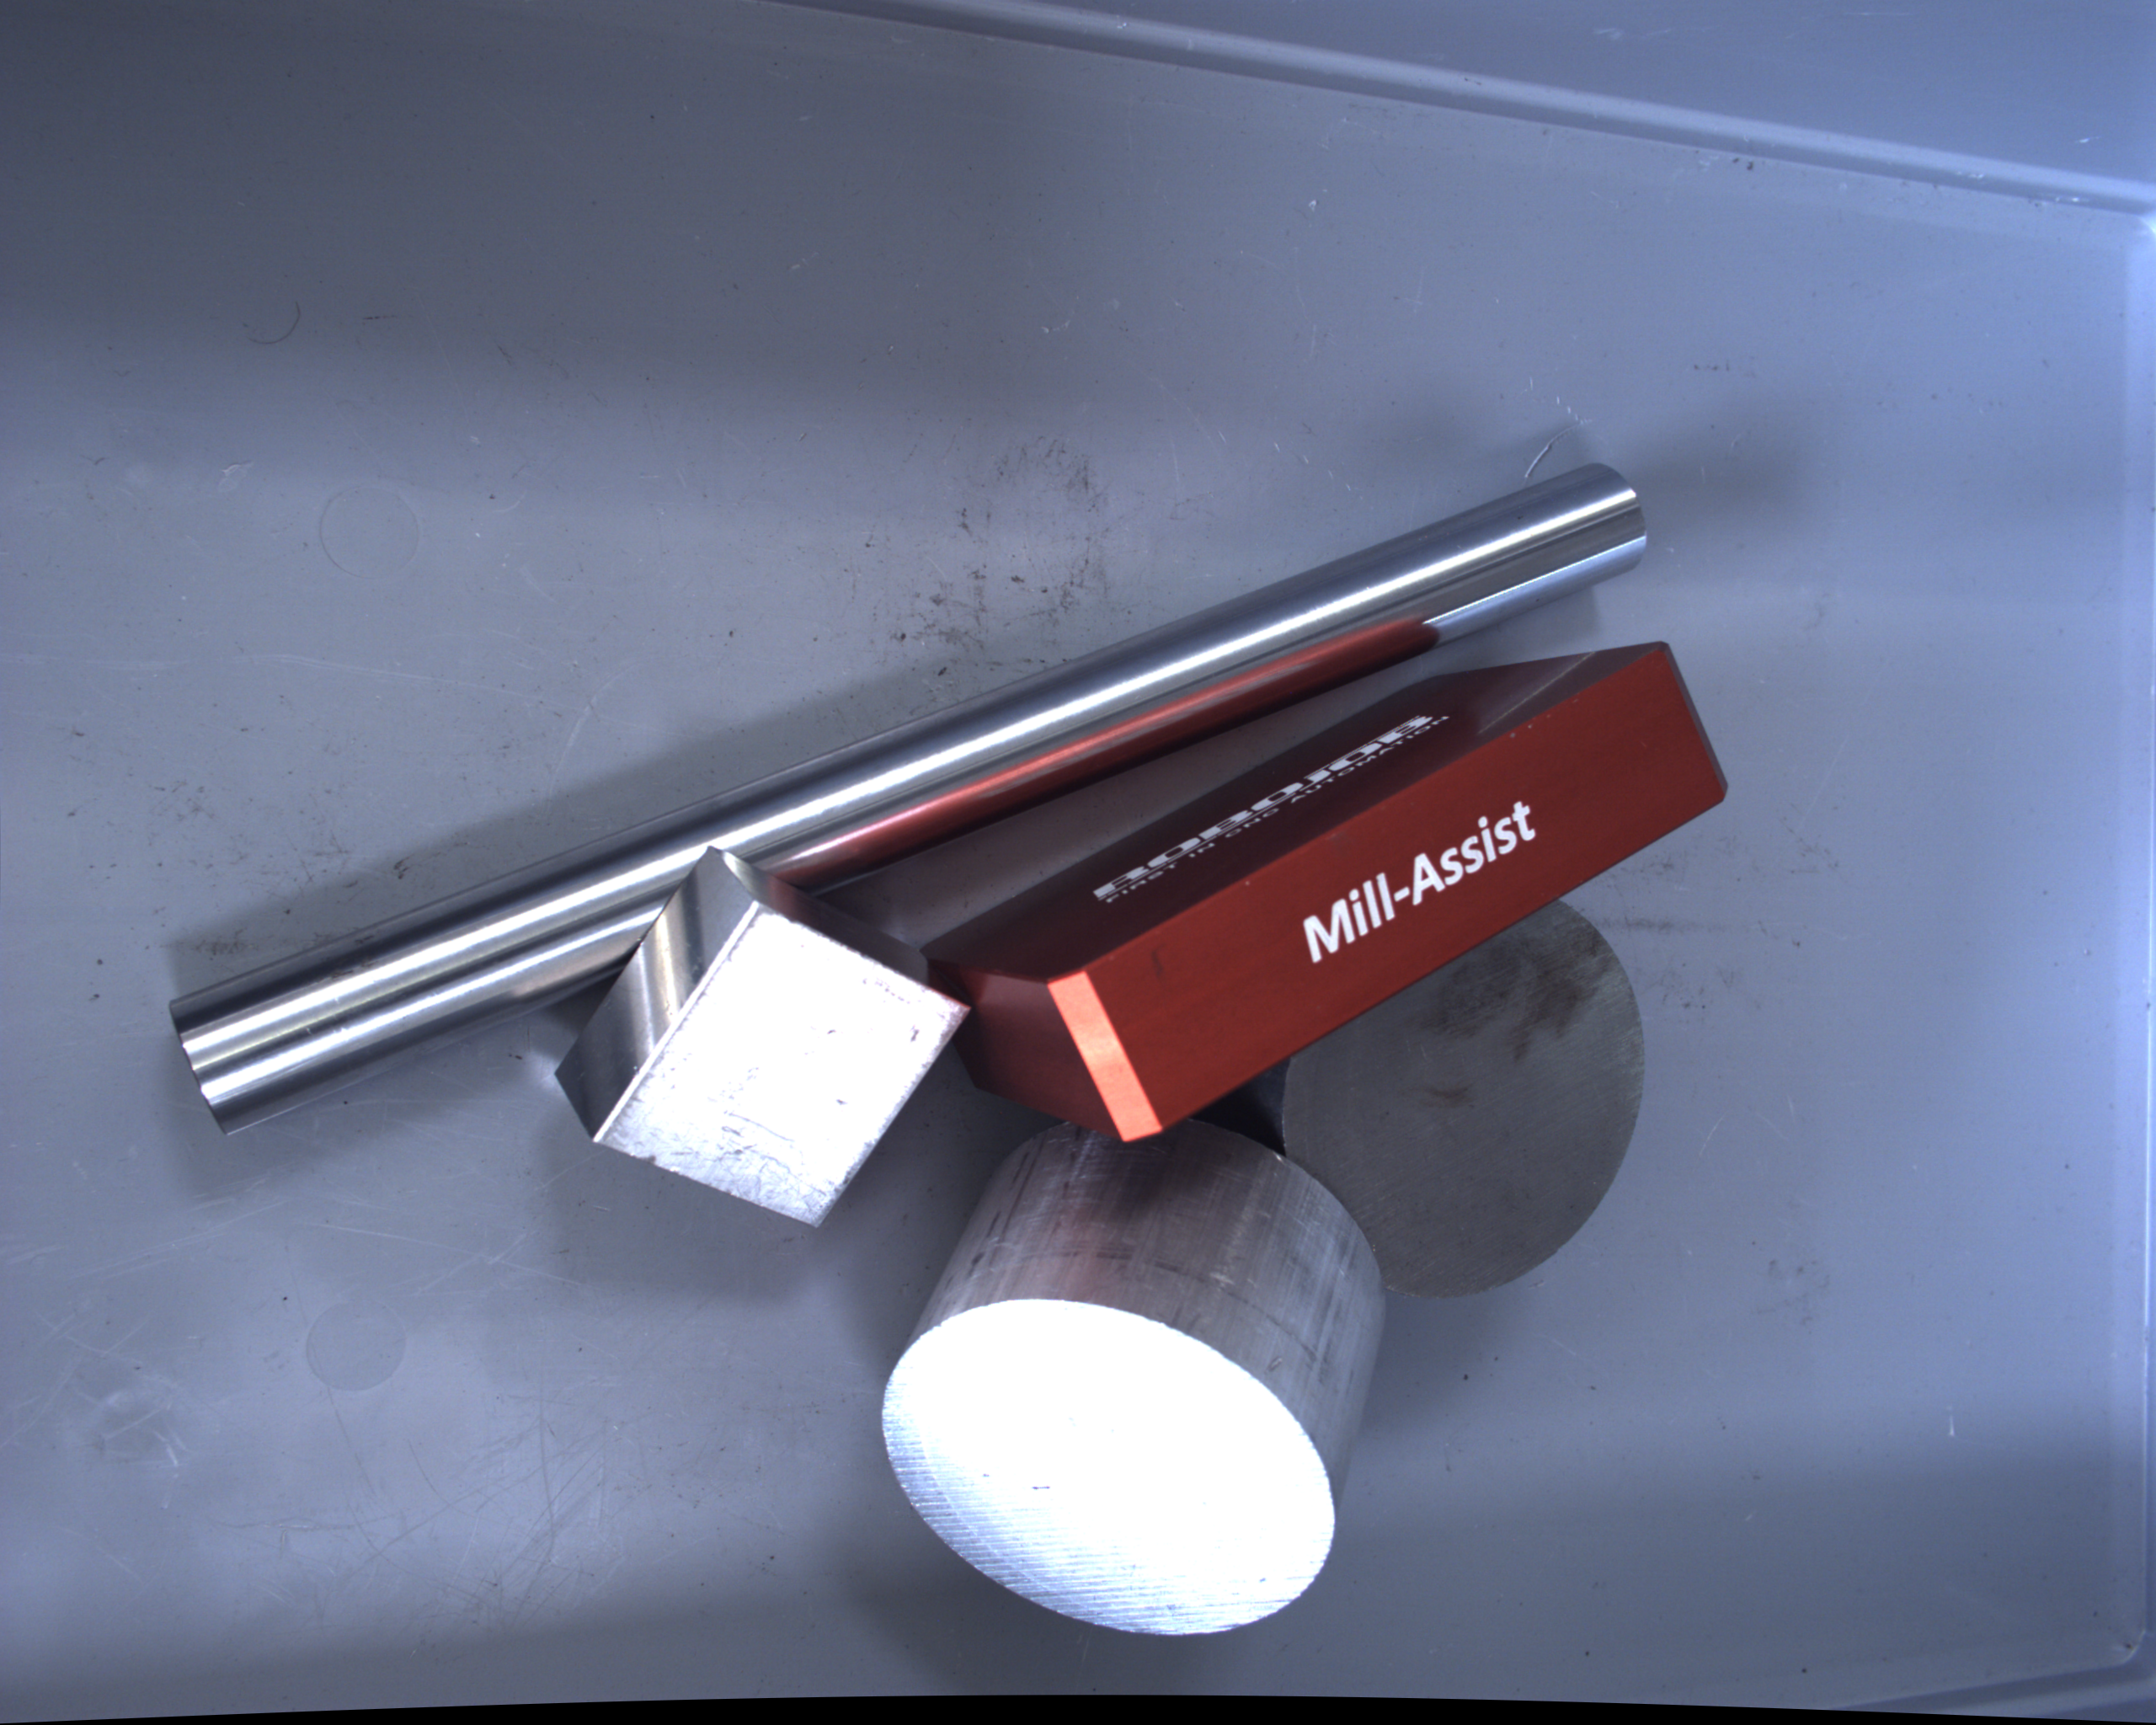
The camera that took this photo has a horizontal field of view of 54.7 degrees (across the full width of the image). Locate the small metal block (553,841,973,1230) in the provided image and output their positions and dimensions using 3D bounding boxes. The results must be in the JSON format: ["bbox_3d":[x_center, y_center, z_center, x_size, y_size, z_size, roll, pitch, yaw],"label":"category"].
[{"bbox_3d":[-0.056,0.032,0.375,0.050,0.025,0.050,31,96,-37],"label":"small metal block"}]

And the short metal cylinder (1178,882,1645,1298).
[{"bbox_3d":[0.064,0.040,0.414,0.081,0.050,0.079,-4,100,-24],"label":"short metal cylinder"}]

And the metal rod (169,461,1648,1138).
[{"bbox_3d":[-0.017,-0.020,0.402,0.302,0.025,0.025,-23,98,-19],"label":"metal rod"}]

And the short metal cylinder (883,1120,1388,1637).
[{"bbox_3d":[0.012,0.092,0.377,0.080,0.080,0.050,49,34,-14],"label":"short metal cylinder"}]

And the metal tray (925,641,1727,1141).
[{"bbox_3d":[0.042,0.002,0.390,0.131,0.090,0.030,-28,100,-18],"label":"metal tray"}]
